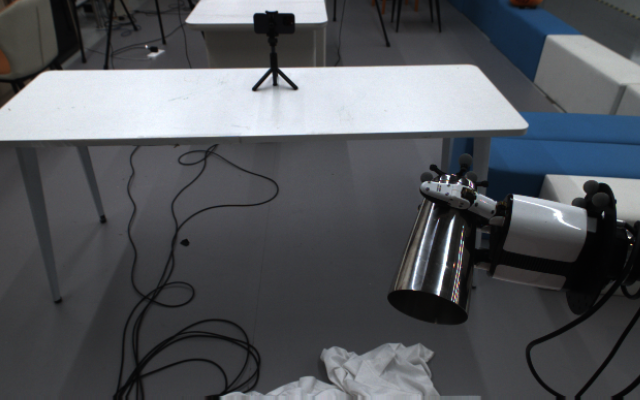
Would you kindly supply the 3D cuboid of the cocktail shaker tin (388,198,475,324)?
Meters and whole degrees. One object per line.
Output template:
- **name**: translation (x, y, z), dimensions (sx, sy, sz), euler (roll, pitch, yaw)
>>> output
- **cocktail shaker tin**: translation (0.148, 0.051, 0.595), dimensions (0.093, 0.093, 0.170), euler (13, 59, 16)
